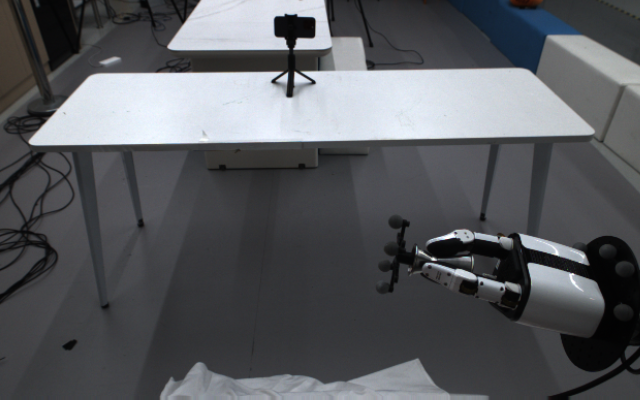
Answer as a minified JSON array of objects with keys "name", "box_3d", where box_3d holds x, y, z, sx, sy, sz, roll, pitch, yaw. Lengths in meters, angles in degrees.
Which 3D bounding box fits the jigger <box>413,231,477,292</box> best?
[{"name":"jigger","box_3d":[0.149,0.075,0.579,0.071,0.043,0.043,12,35,3]}]
